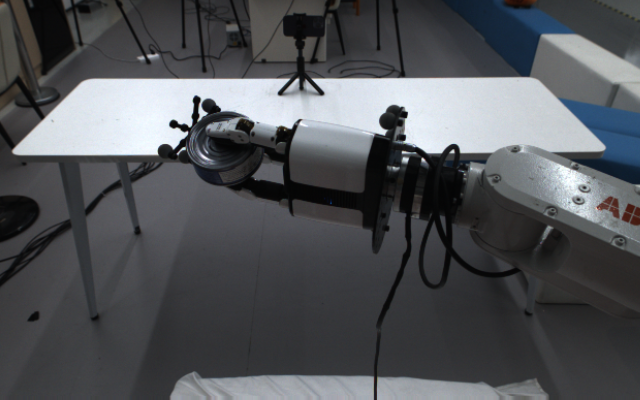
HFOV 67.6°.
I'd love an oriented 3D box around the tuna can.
[{"bbox_3d":[-0.106,-0.057,0.559,0.085,0.034,0.085,-1,61,3],"label":"tuna can"}]
